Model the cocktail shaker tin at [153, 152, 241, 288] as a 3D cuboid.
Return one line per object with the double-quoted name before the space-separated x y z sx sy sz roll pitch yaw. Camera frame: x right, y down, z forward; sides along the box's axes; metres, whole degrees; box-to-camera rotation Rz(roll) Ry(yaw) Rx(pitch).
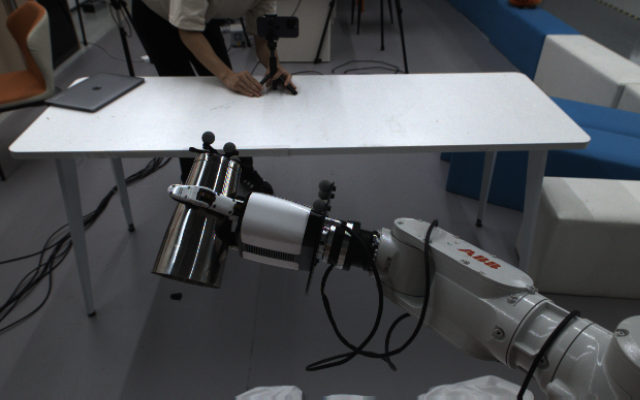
"cocktail shaker tin" -0.161 0.028 0.659 0.093 0.093 0.170 10 73 11
